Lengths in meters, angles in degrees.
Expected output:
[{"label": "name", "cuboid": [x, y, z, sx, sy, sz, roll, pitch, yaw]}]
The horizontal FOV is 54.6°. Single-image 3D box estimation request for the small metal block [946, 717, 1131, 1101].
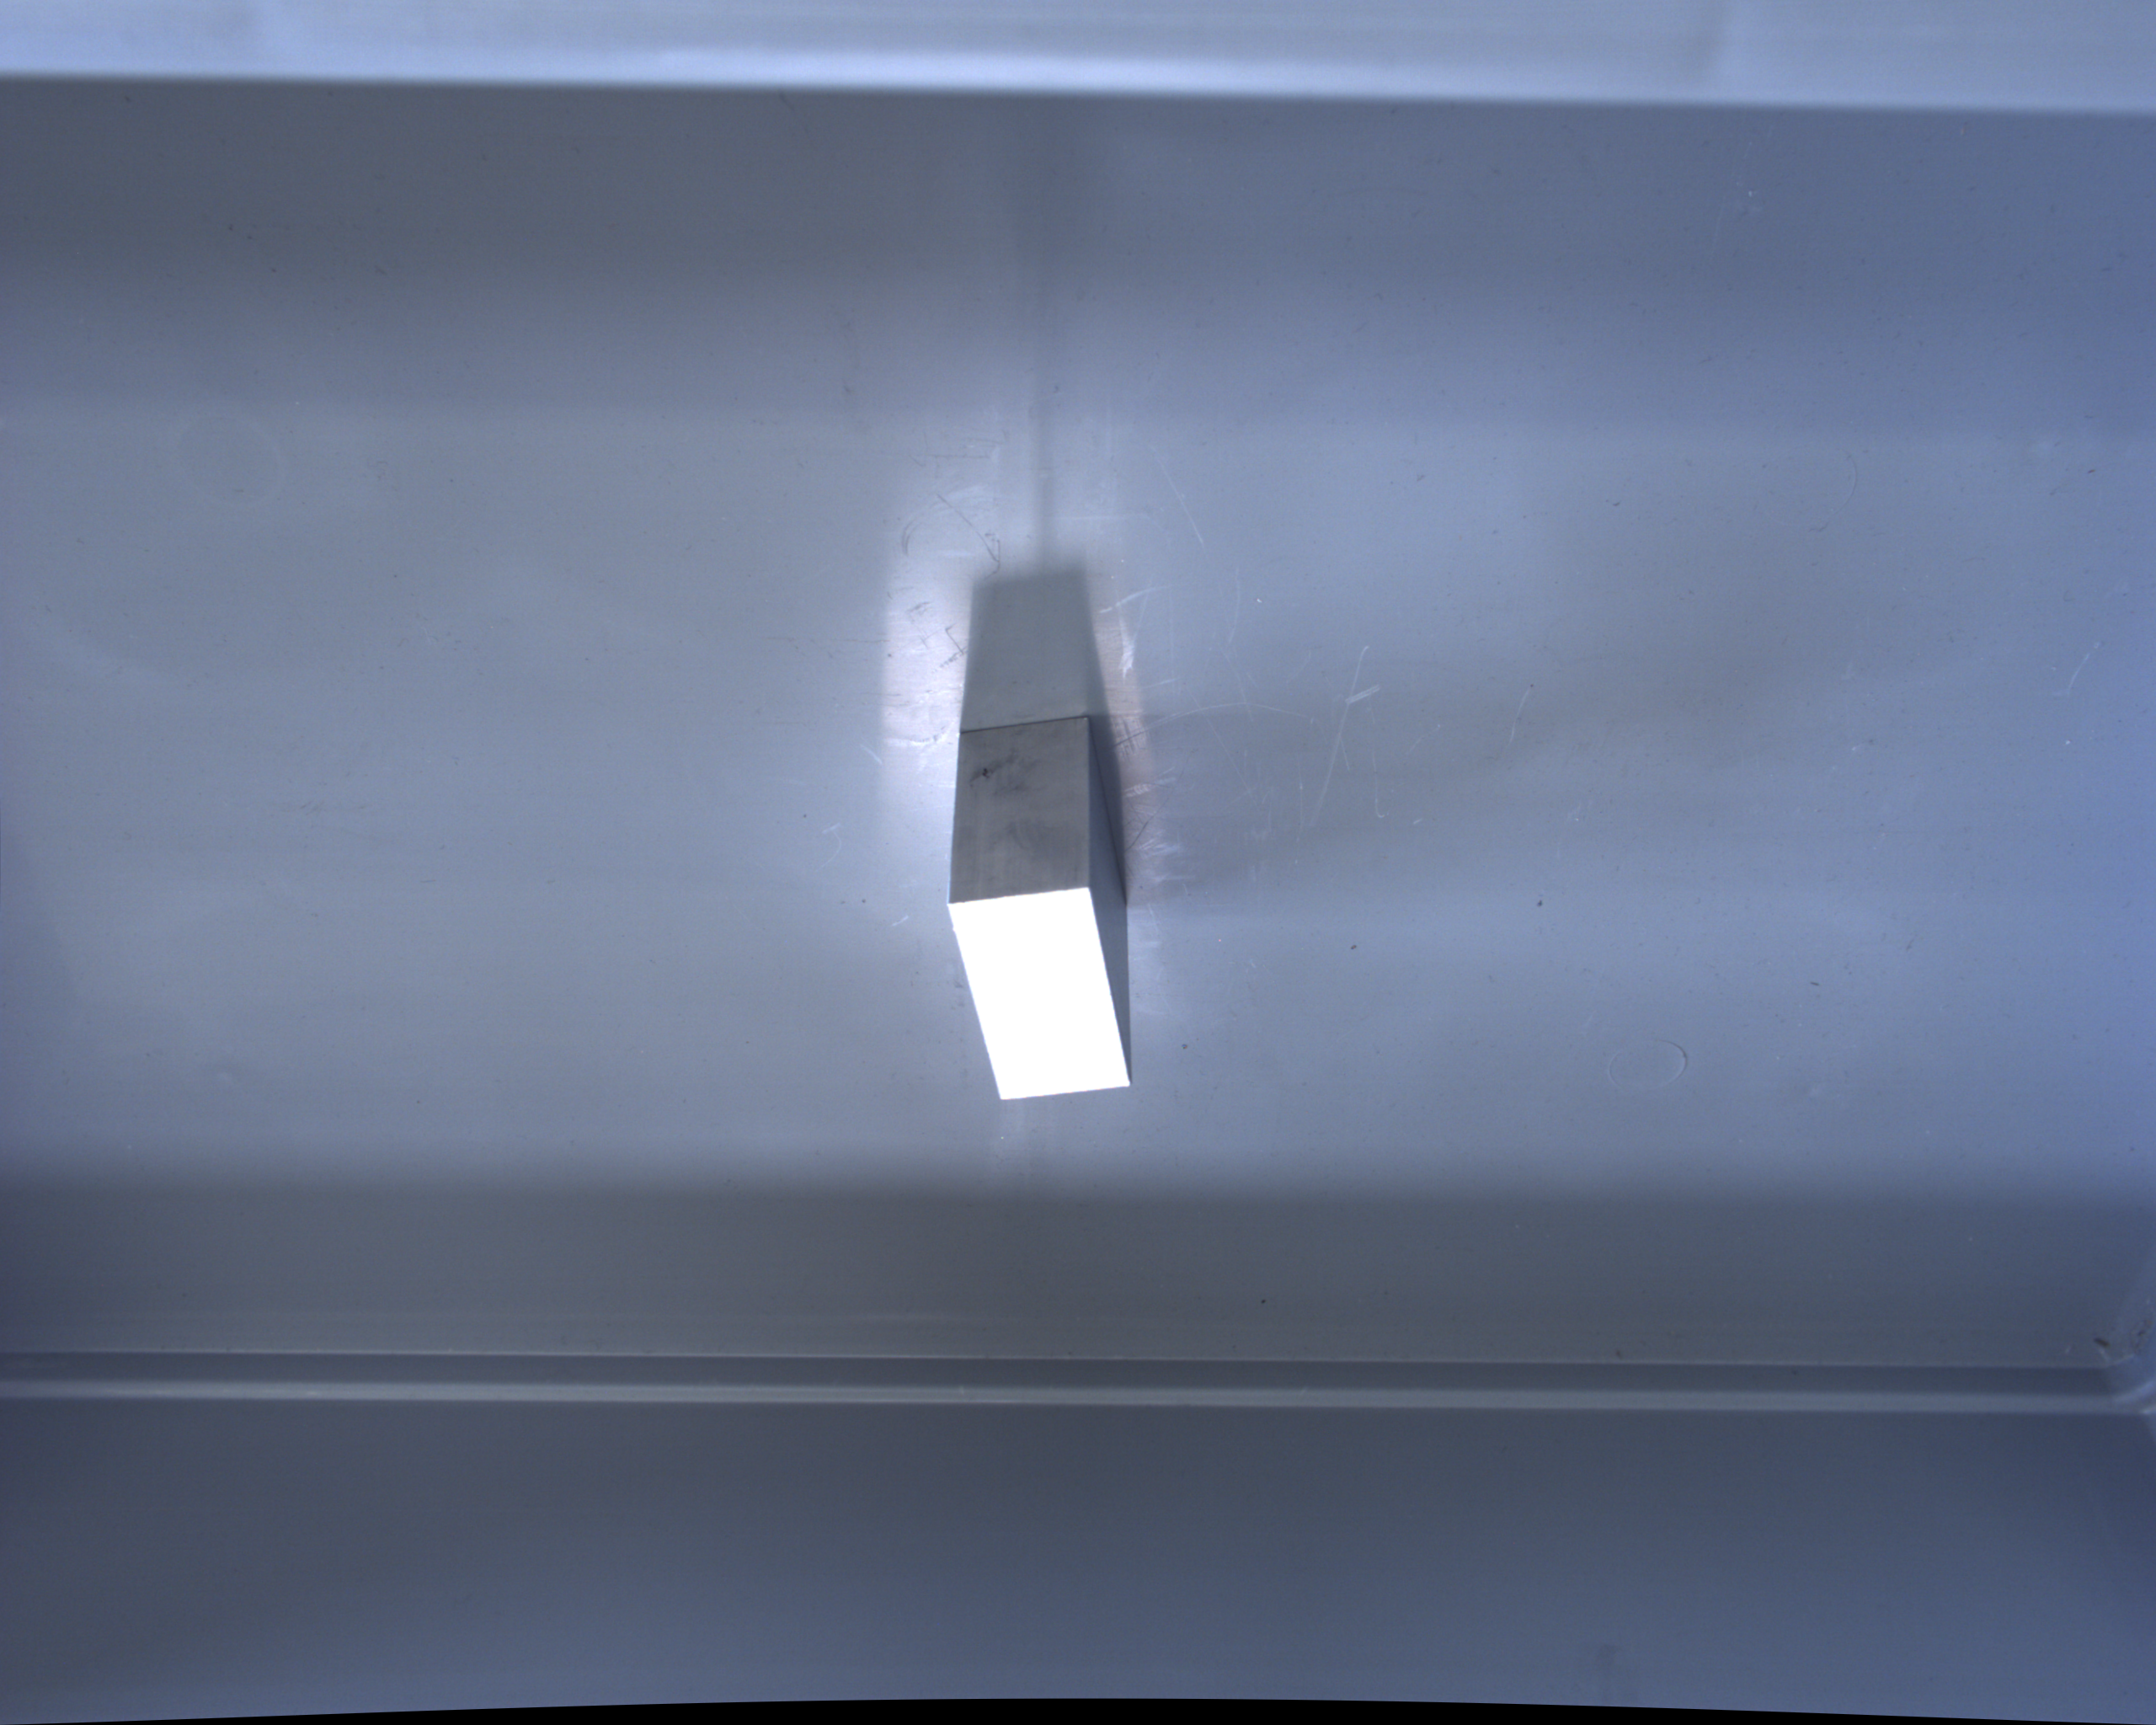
[{"label": "small metal block", "cuboid": [-0.006, 0.009, 0.395, 0.025, 0.050, 0.050, -7, 129, 6]}]
